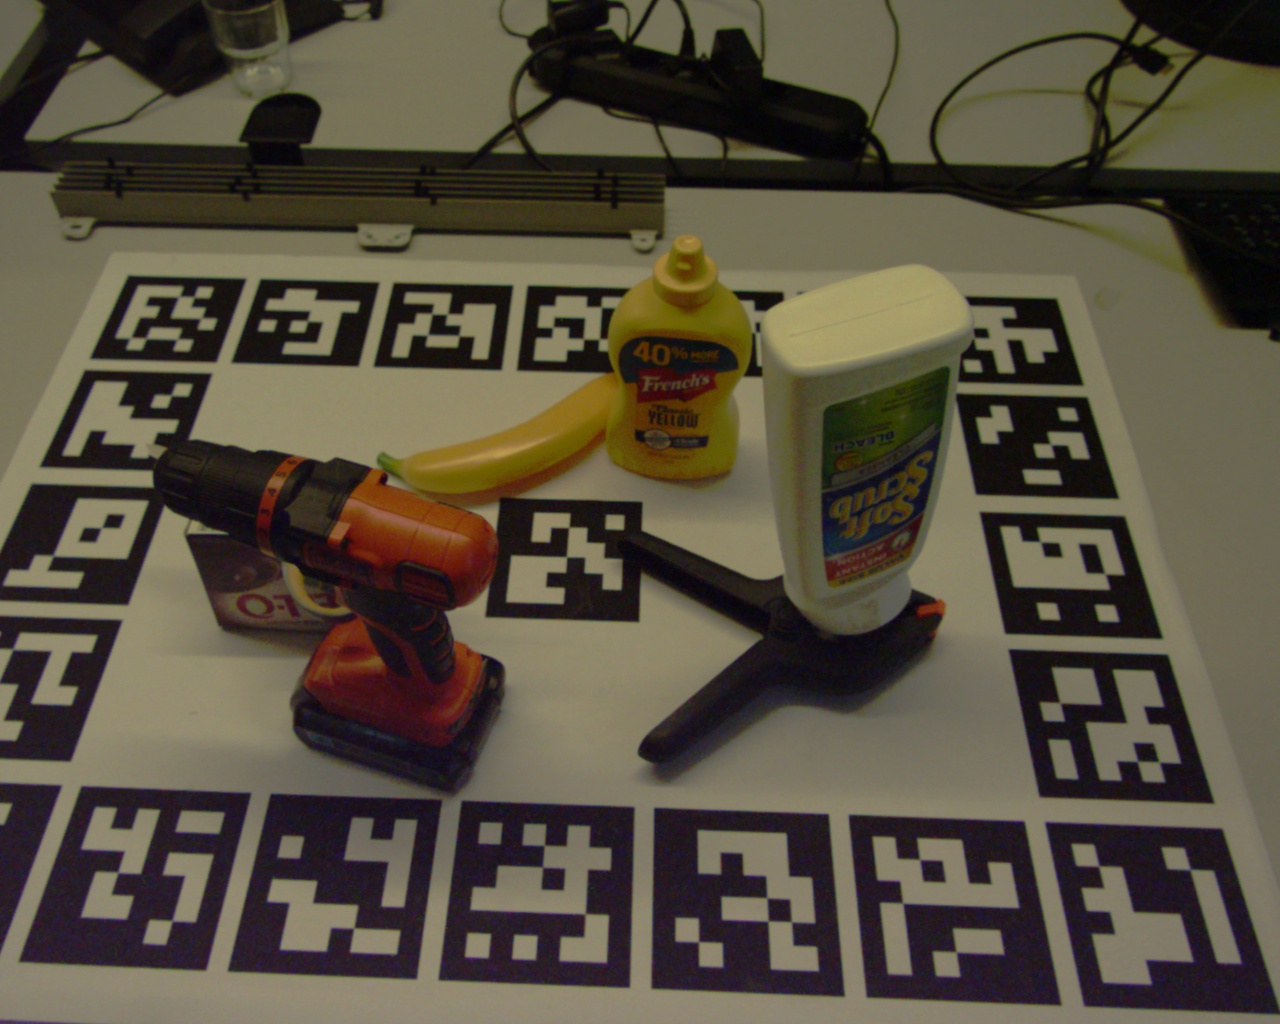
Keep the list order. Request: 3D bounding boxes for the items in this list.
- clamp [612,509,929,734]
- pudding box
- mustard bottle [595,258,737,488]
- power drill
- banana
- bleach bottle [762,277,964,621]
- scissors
[{"bbox_3d":[0.088,0.062,0.747,0.202,0.036,0.166,-3,54,-5],"label":"clamp"},{"bbox_3d":[-0.227,0.031,0.754,0.114,0.090,0.039,5,45,3],"label":"pudding box"},{"bbox_3d":[0.018,-0.098,0.800,0.096,0.191,0.058,14,52,8],"label":"mustard bottle"},{"bbox_3d":[-0.168,0.052,0.641,0.185,0.186,0.057,11,45,11],"label":"power drill"},{"bbox_3d":[-0.091,-0.072,0.862,0.196,0.038,0.075,-32,42,-22],"label":"banana"},{"bbox_3d":[0.125,-0.014,0.674,0.102,0.249,0.068,-17,50,-6],"label":"bleach bottle"},{"bbox_3d":[-0.234,-0.014,0.709,0.204,0.016,0.087,24,59,12],"label":"scissors"}]
